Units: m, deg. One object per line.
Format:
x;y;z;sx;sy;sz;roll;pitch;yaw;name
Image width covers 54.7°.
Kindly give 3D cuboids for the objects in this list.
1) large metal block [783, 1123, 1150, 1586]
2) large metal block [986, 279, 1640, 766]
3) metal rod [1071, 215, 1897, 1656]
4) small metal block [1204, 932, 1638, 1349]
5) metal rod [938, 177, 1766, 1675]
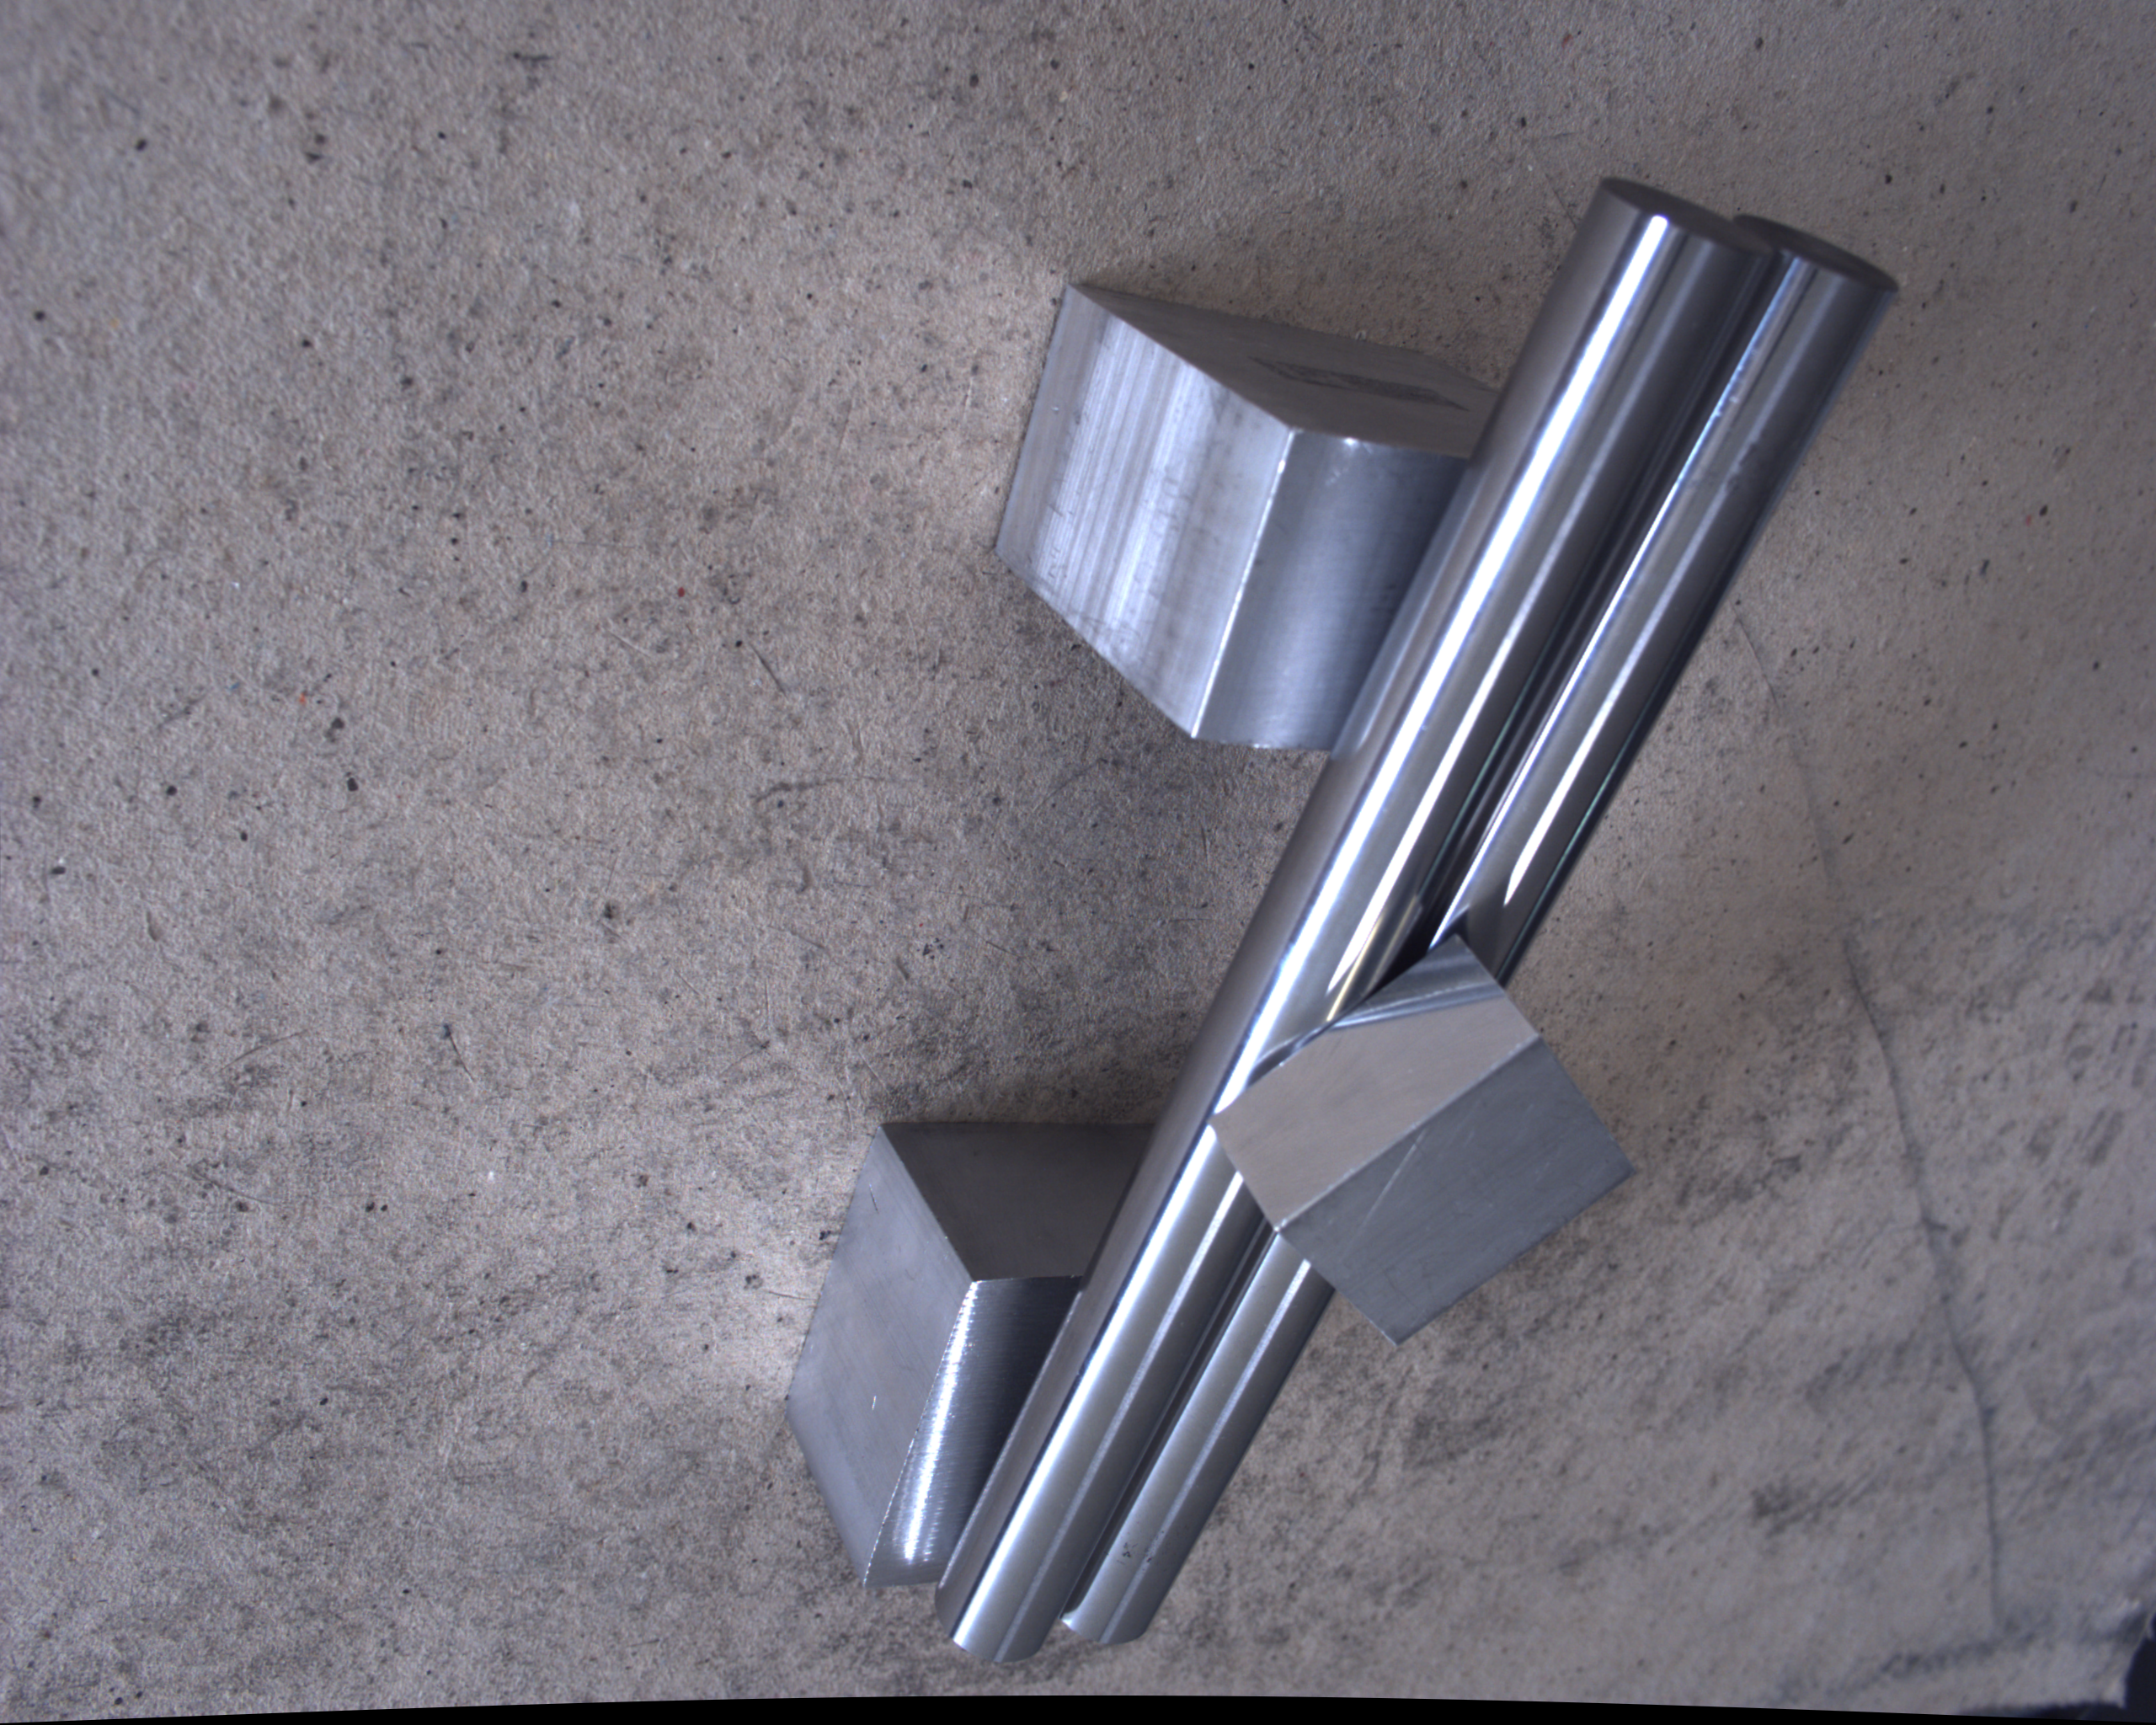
-0.009;0.104;0.451;0.081;0.050;0.079;5;116;-31;large metal block
0.042;-0.058;0.360;0.081;0.080;0.050;3;117;-30;large metal block
0.055;0.035;0.365;0.025;0.025;0.298;3;124;-30;metal rod
0.057;0.047;0.342;0.050;0.025;0.050;-38;135;4;small metal block
0.032;0.034;0.352;0.025;0.025;0.298;3;124;-30;metal rod
